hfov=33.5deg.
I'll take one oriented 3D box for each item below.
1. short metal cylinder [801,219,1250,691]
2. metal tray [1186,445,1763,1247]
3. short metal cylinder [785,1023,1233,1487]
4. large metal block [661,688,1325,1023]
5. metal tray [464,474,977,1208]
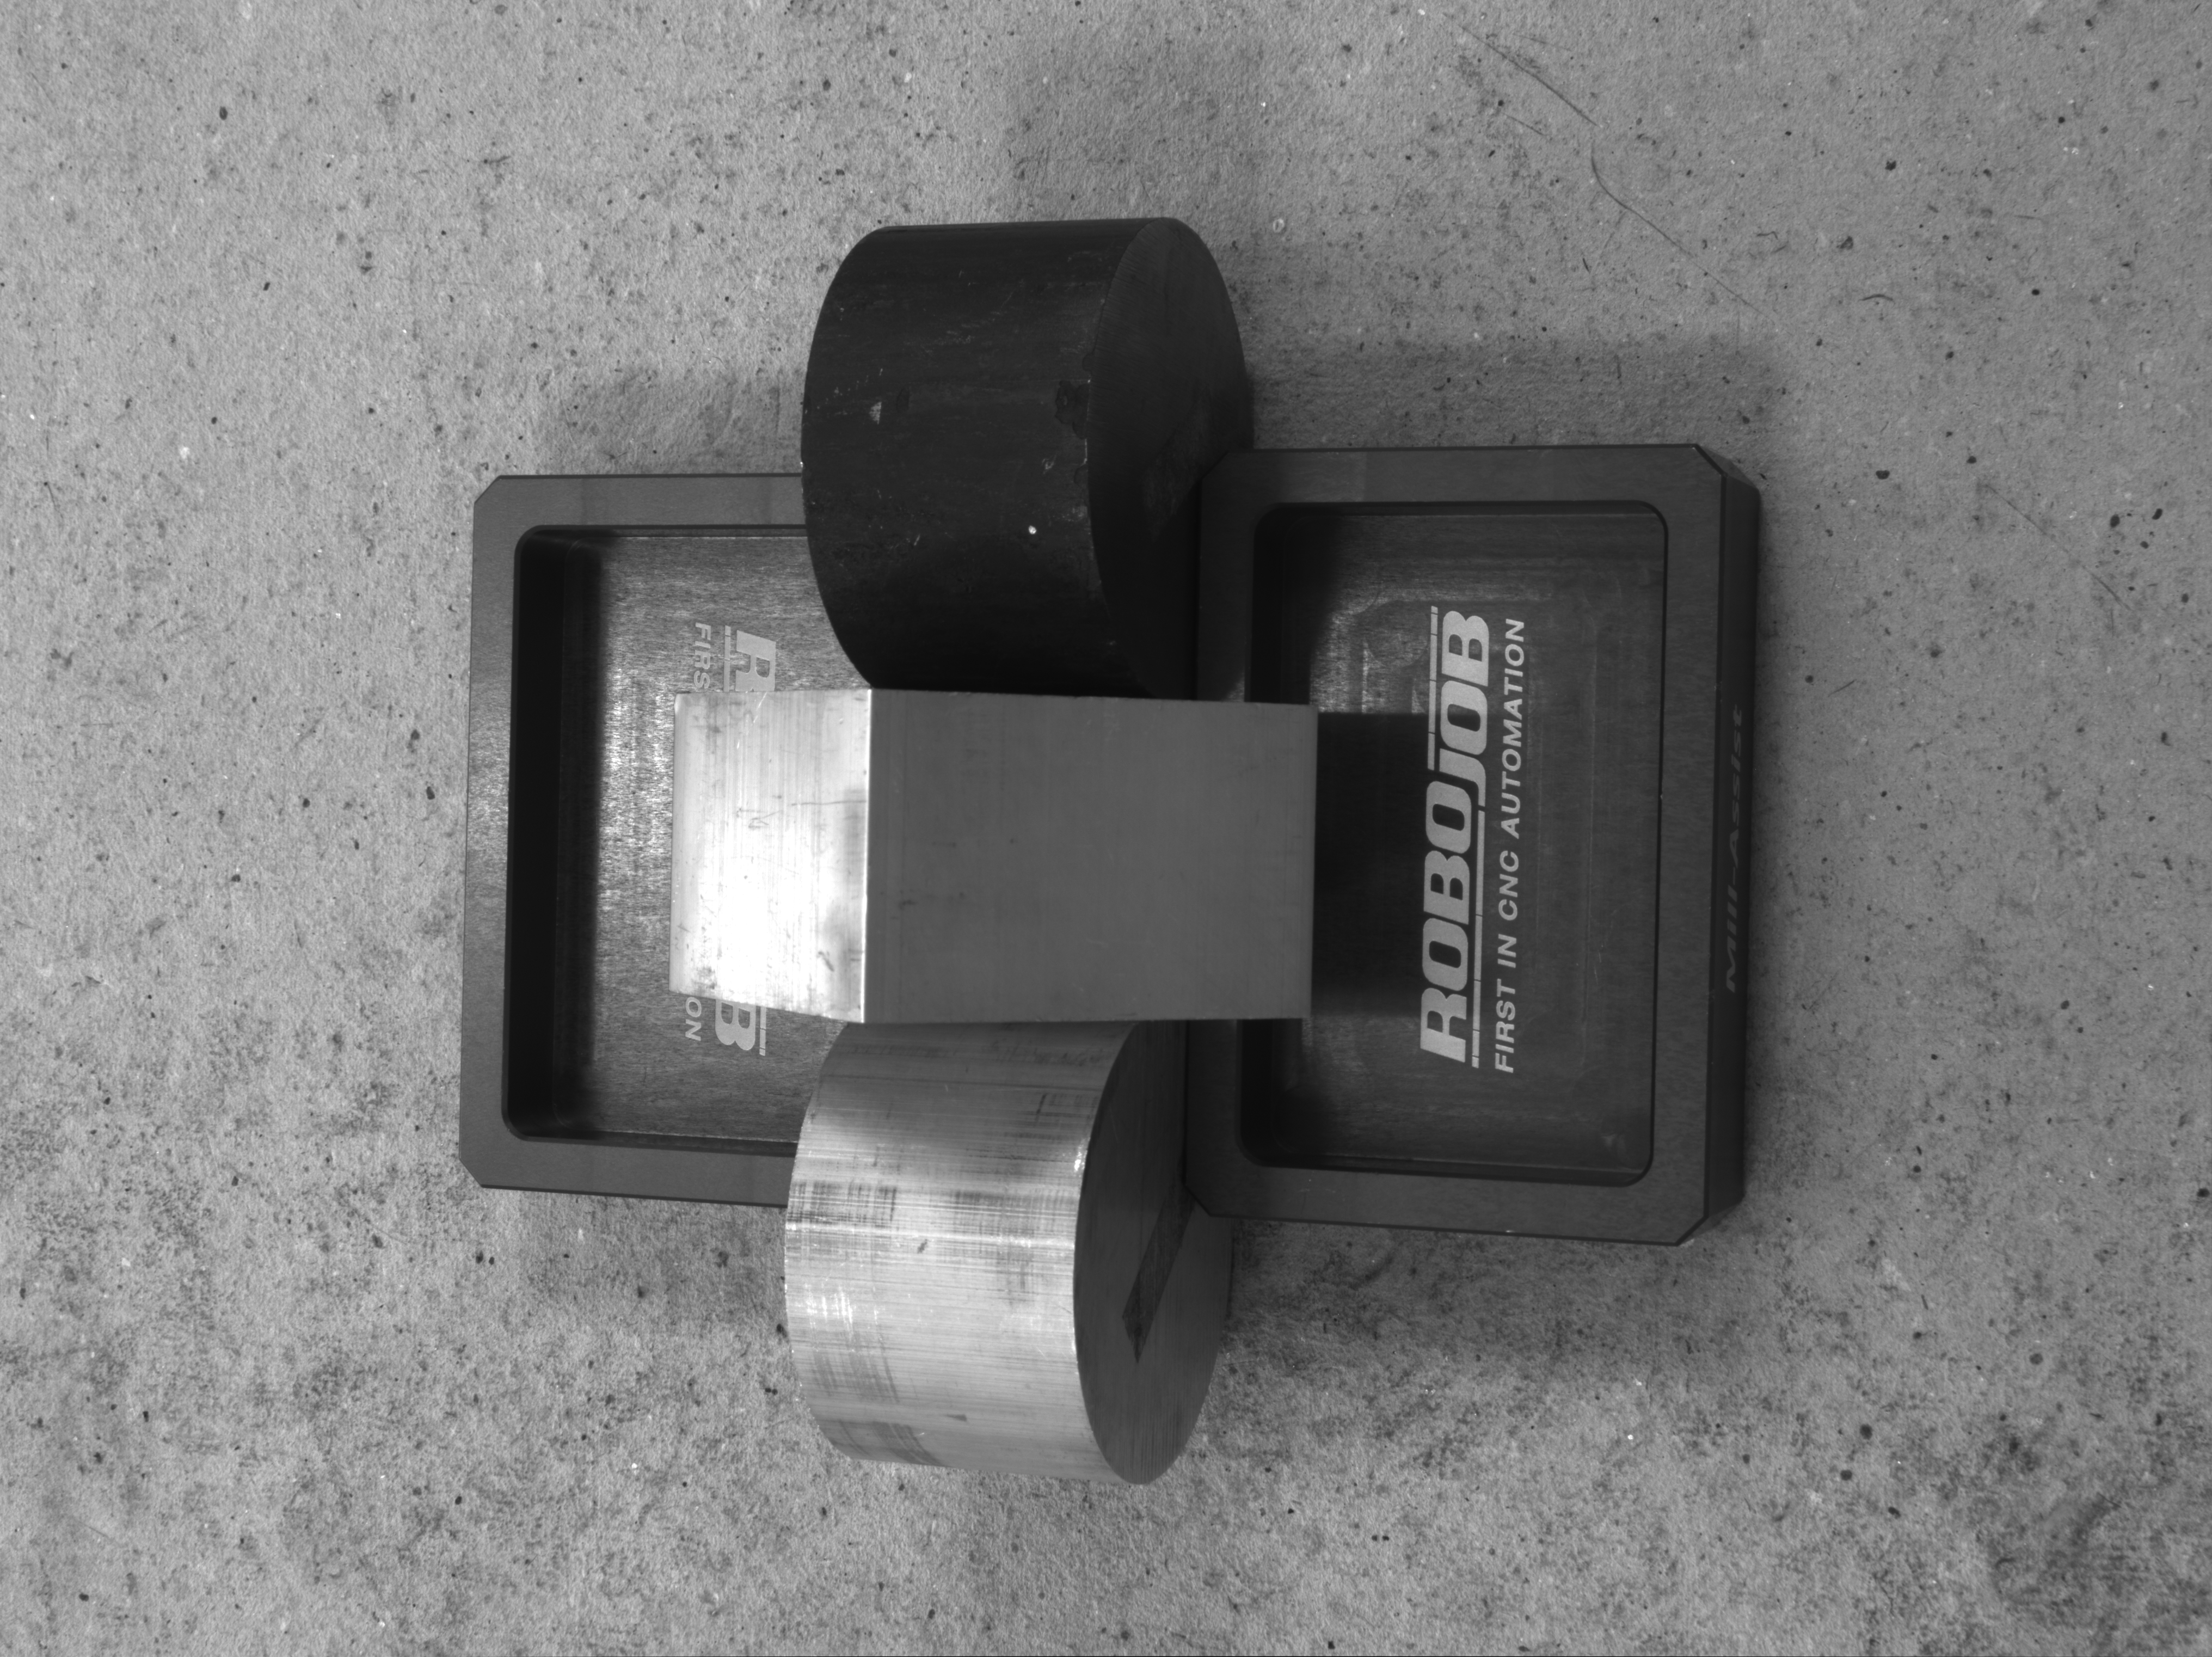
[{"bbox_3d":[-0.012,-0.062,0.622,0.050,0.080,0.080,2,91,20],"label":"short metal cylinder"},{"bbox_3d":[0.062,0.002,0.622,0.090,0.030,0.130,2,90,20],"label":"metal tray"},{"bbox_3d":[-0.014,0.069,0.623,0.050,0.080,0.080,2,91,20],"label":"short metal cylinder"},{"bbox_3d":[-0.020,0.004,0.603,0.080,0.080,0.050,3,92,60],"label":"large metal block"},{"bbox_3d":[-0.069,0.002,0.670,0.090,0.030,0.130,2,90,20],"label":"metal tray"}]
